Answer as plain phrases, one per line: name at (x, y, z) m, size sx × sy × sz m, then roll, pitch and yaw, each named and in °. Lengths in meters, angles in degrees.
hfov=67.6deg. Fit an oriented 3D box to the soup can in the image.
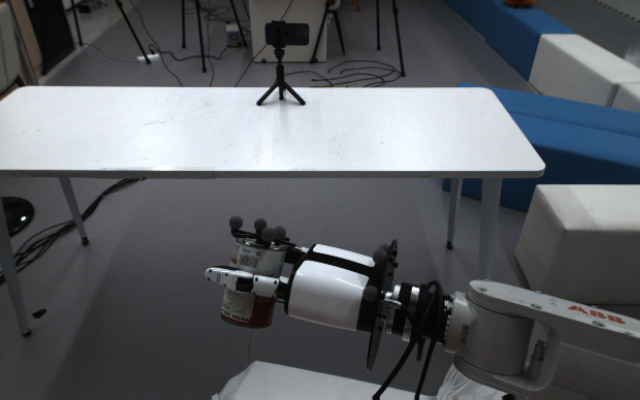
soup can at (-0.082, 0.102, 0.611) m, size 0.067 × 0.101 × 0.067 m, roll 12°, pitch 2°, yaw 0°
